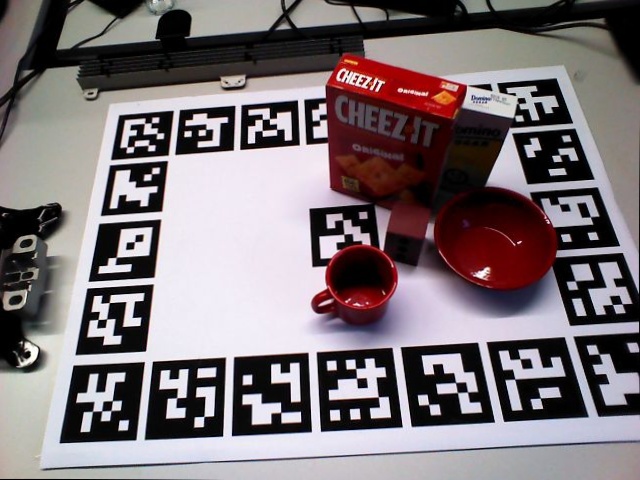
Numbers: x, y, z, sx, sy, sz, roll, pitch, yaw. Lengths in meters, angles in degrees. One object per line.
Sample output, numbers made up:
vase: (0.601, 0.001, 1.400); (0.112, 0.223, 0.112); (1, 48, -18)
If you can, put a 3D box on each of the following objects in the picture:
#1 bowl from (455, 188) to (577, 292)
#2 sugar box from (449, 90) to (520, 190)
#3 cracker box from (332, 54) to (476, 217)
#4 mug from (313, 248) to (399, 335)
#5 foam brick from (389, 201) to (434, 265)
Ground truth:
bowl: (0.251, 0.008, 0.695); (0.162, 0.055, 0.161); (-2, 62, 4)
sugar box: (0.213, -0.141, 0.723); (0.093, 0.177, 0.045); (15, 63, 13)
cracker box: (0.102, -0.130, 0.707); (0.165, 0.214, 0.071); (23, 63, 16)
mug: (0.049, 0.073, 0.669); (0.117, 0.082, 0.093); (-13, 52, 0)
foam brick: (0.127, -0.009, 0.719); (0.053, 0.078, 0.051); (9, 61, 11)
